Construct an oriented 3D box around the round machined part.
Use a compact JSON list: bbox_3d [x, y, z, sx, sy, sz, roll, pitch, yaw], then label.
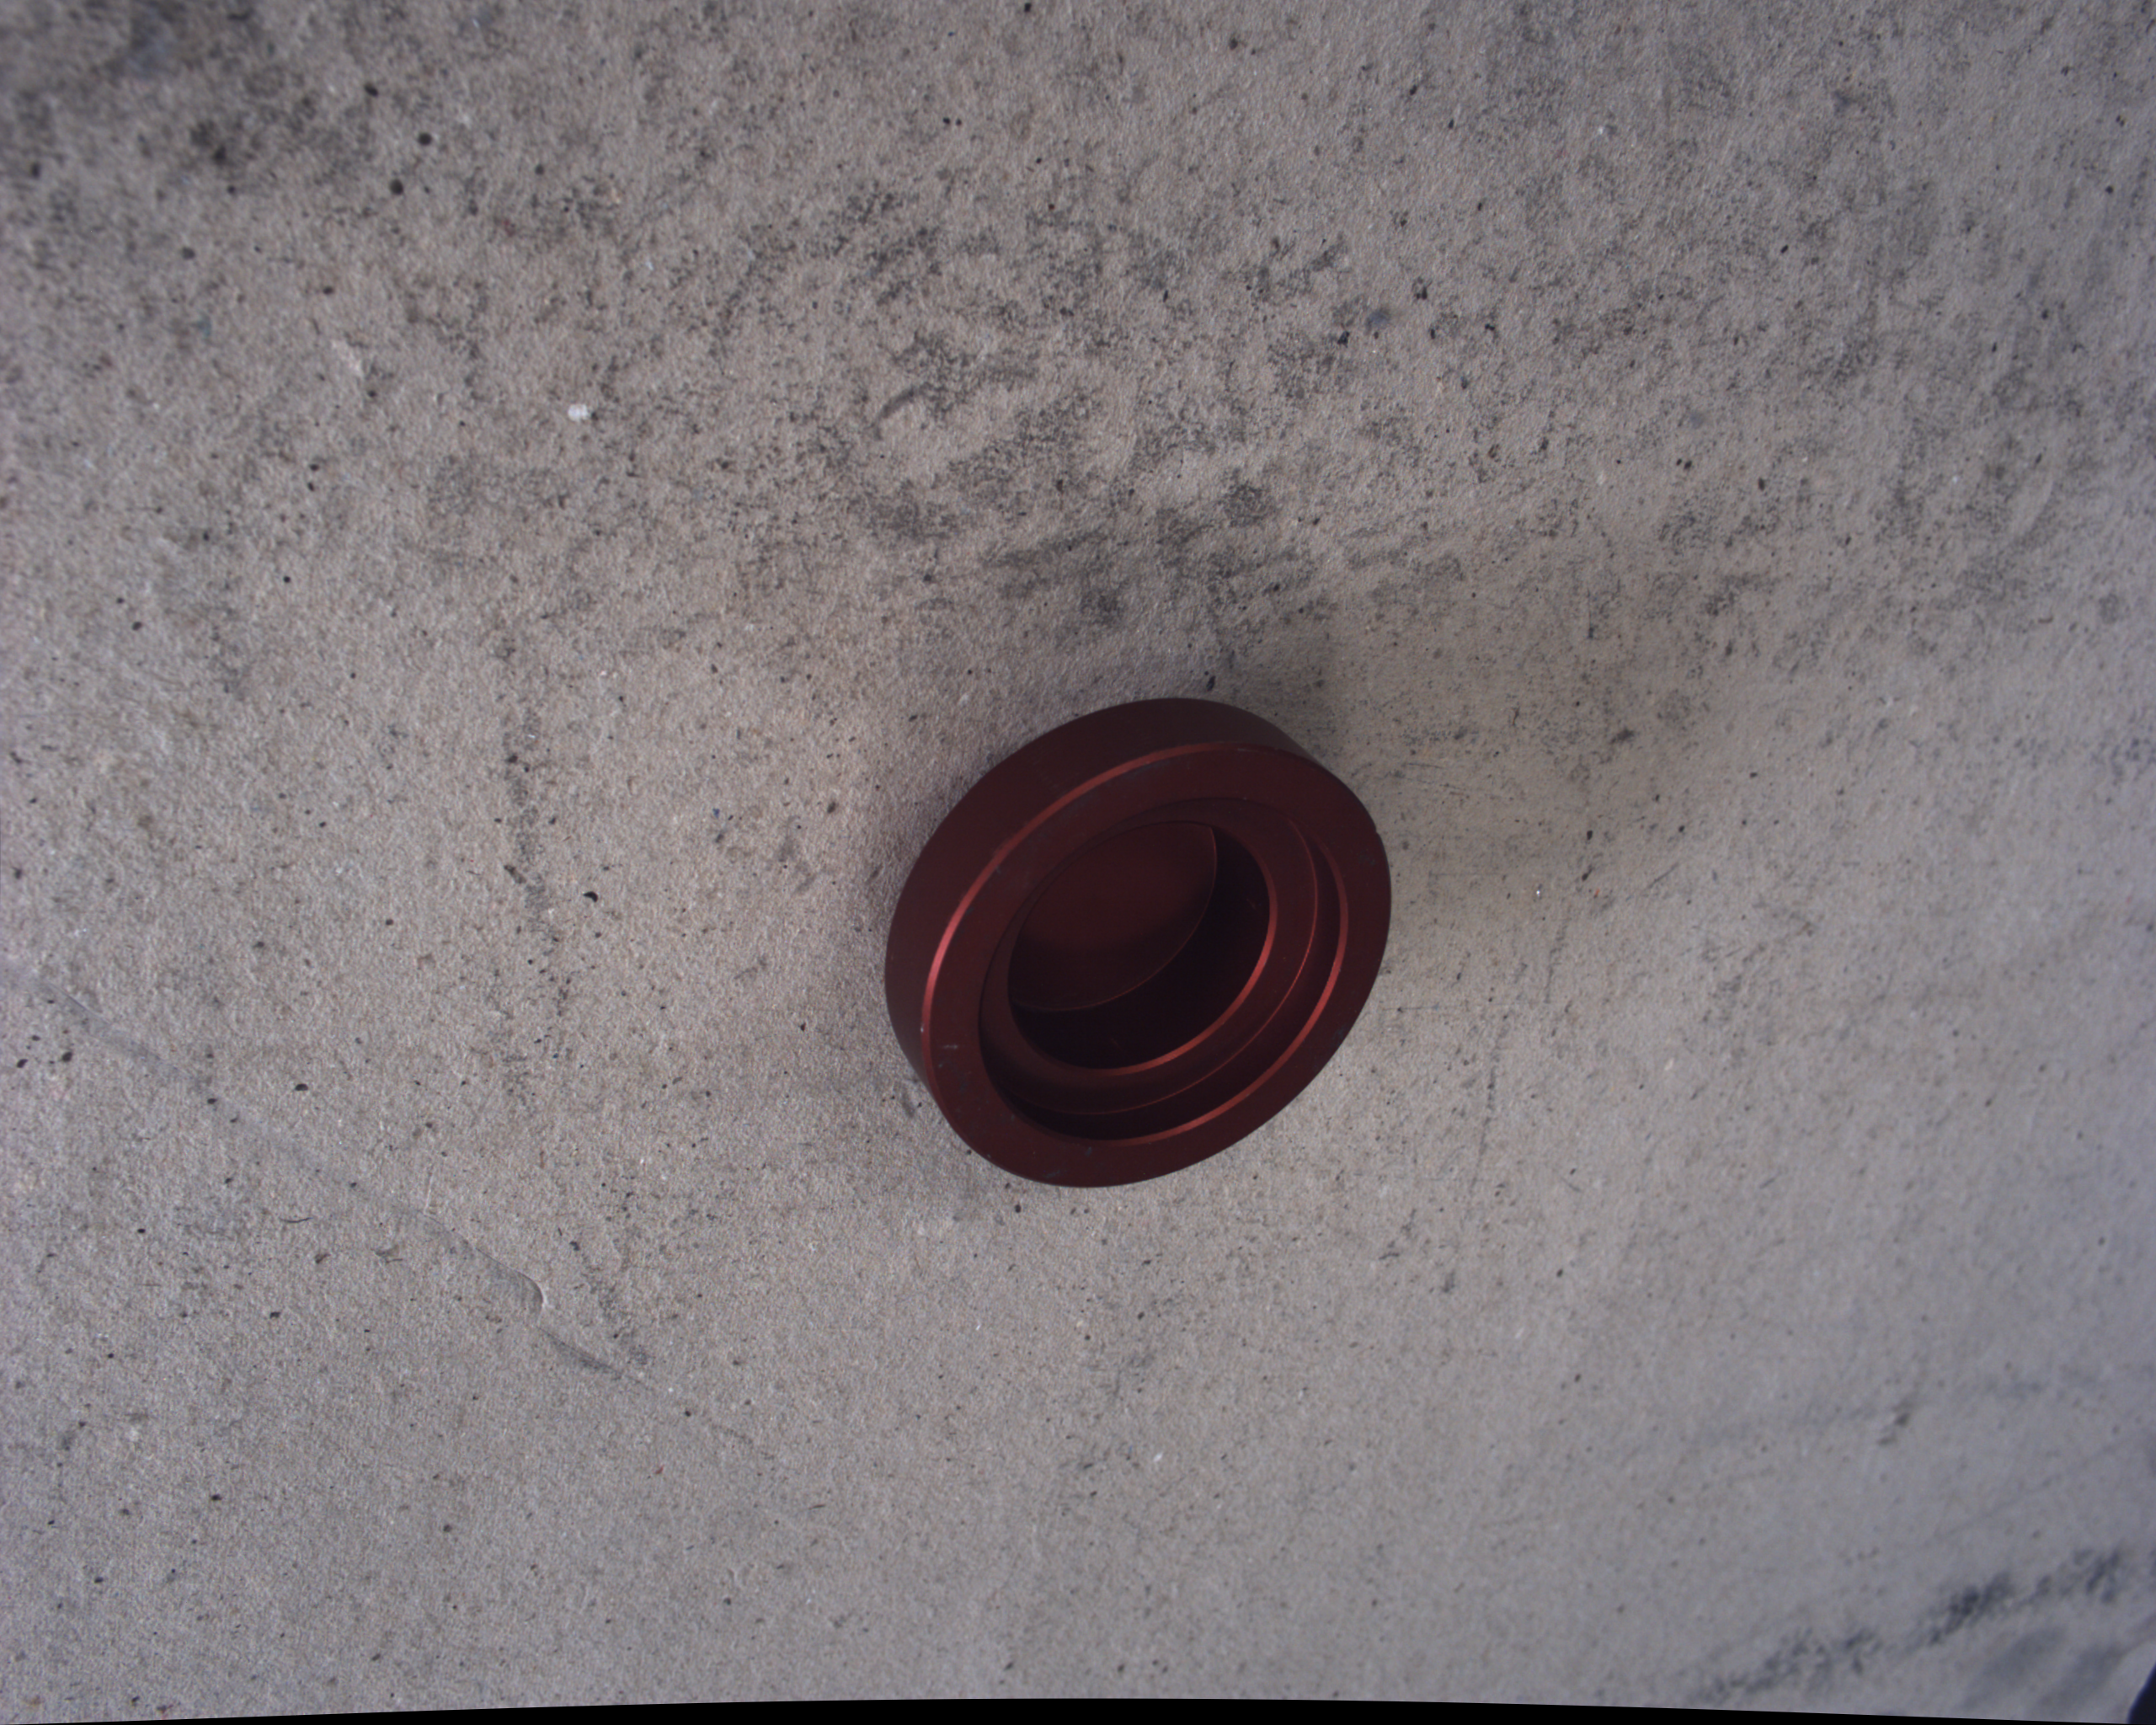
[{"bbox_3d":[0.008,0.012,0.409,0.099,0.042,0.097,-14,124,-21],"label":"round machined part"}]
